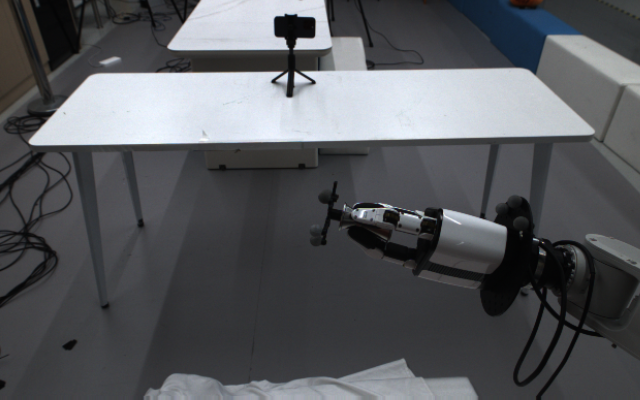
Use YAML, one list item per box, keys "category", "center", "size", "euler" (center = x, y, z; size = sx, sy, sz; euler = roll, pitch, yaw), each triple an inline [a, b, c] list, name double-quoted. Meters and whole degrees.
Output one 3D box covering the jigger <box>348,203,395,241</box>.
- category: "jigger"
  center: [0.069, 0.026, 0.645]
  size: [0.071, 0.043, 0.043]
  euler: [13, 36, 3]
